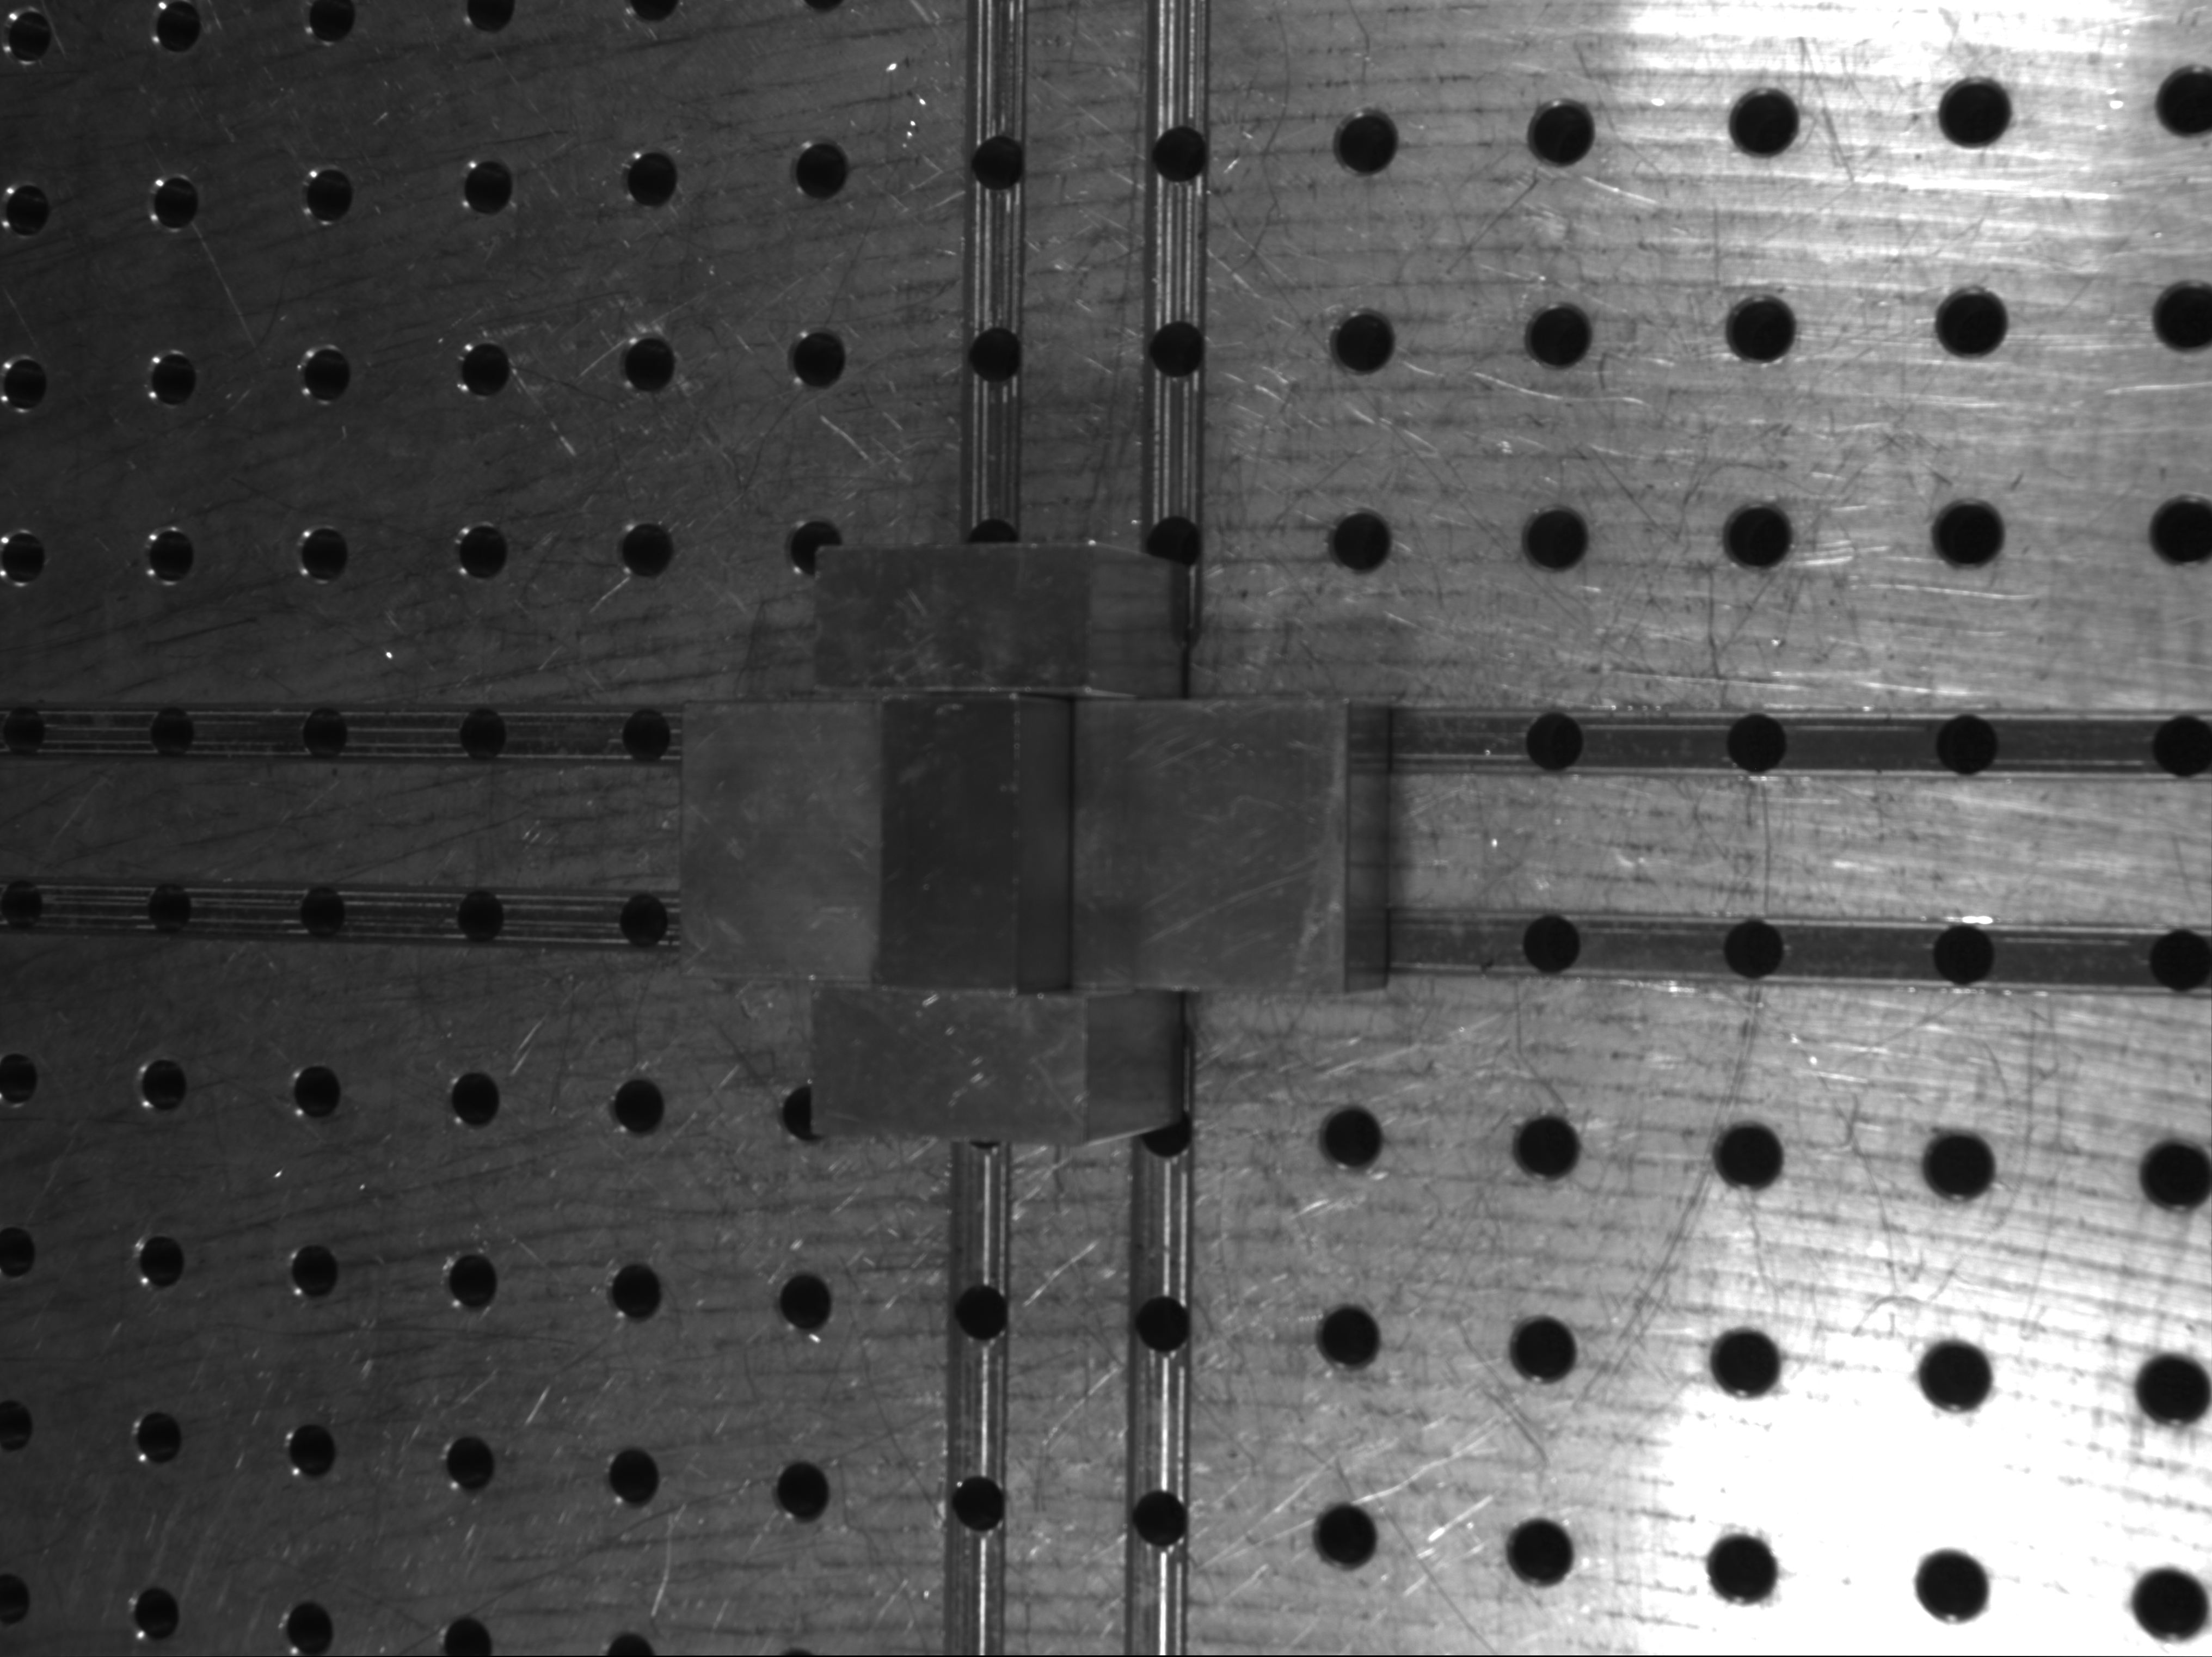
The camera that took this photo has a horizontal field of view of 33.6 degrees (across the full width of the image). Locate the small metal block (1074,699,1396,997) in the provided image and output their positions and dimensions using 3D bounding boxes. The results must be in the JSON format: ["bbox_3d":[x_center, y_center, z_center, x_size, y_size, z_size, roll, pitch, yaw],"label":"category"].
[{"bbox_3d":[0.023,0.003,0.638,0.050,0.025,0.050,1,90,20],"label":"small metal block"}]

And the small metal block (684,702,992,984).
[{"bbox_3d":[-0.048,0.003,0.664,0.050,0.025,0.050,1,90,20],"label":"small metal block"}]

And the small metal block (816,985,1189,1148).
[{"bbox_3d":[-0.017,0.040,0.639,0.050,0.050,0.025,1,90,20],"label":"small metal block"}]

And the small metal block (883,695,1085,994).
[{"bbox_3d":[-0.017,0.003,0.639,0.025,0.050,0.050,1,90,20],"label":"small metal block"}]

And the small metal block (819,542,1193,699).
[{"bbox_3d":[-0.017,-0.035,0.639,0.050,0.050,0.025,1,90,20],"label":"small metal block"}]
